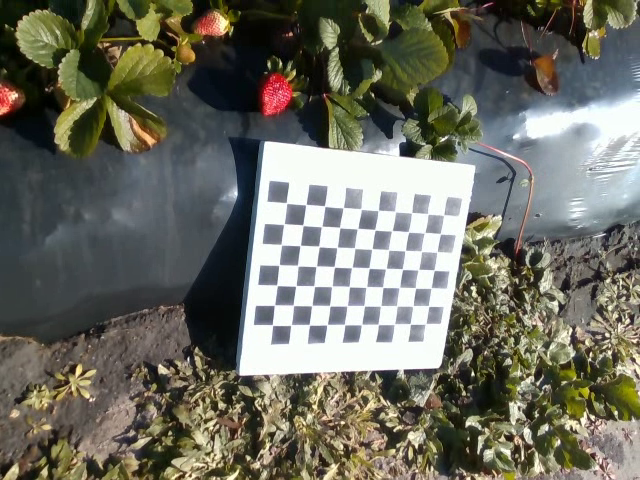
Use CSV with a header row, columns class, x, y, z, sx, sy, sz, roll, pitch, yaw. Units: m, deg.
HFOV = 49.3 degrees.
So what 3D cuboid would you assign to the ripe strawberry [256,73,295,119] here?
class,x,y,z,sx,sy,sz,roll,pitch,yaw
ripe strawberry,-0.055,-0.153,0.730,0.058,0.066,0.062,-30,29,15
